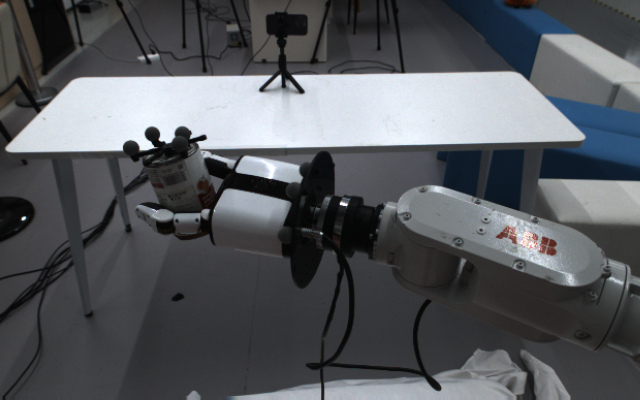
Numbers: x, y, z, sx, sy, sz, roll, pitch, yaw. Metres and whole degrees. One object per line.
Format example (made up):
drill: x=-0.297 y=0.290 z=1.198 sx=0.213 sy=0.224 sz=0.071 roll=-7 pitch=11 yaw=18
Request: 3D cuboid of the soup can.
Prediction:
soup can: x=-0.160 y=-0.011 z=0.577 sx=0.067 sy=0.101 sz=0.067 roll=-11 pitch=27 yaw=6
